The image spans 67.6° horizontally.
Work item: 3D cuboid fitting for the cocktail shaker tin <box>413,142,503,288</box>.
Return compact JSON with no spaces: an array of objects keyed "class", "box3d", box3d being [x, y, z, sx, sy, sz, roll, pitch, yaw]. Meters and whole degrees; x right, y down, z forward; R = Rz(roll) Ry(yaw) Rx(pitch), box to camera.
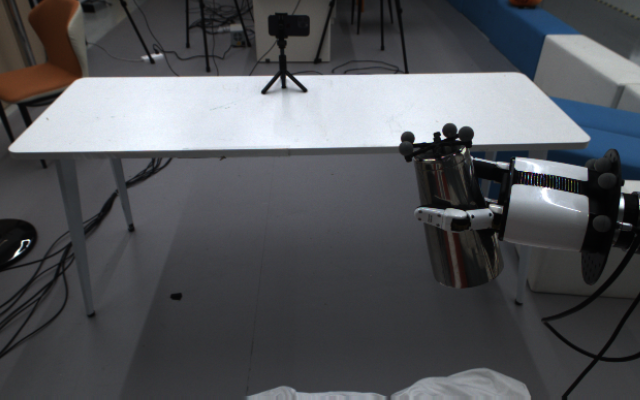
[{"class":"cocktail shaker tin","box3d":[0.172,0.015,0.616,0.093,0.170,0.093,-17,20,7]}]
